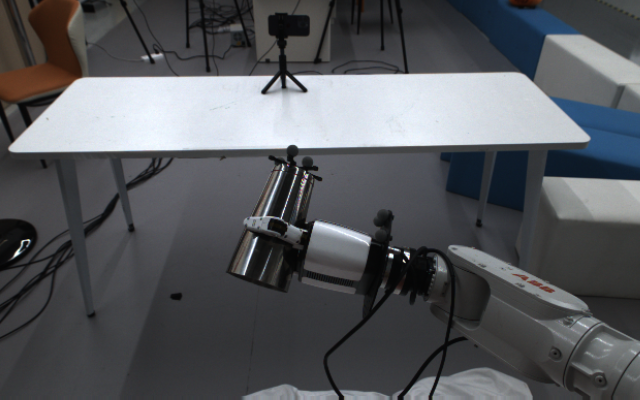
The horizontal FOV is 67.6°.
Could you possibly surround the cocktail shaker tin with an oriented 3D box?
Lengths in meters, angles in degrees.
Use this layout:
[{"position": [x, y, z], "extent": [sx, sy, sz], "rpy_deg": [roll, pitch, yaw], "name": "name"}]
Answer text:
[{"position": [-0.066, 0.038, 0.700], "extent": [0.093, 0.093, 0.170], "rpy_deg": [14, 74, 17], "name": "cocktail shaker tin"}]
